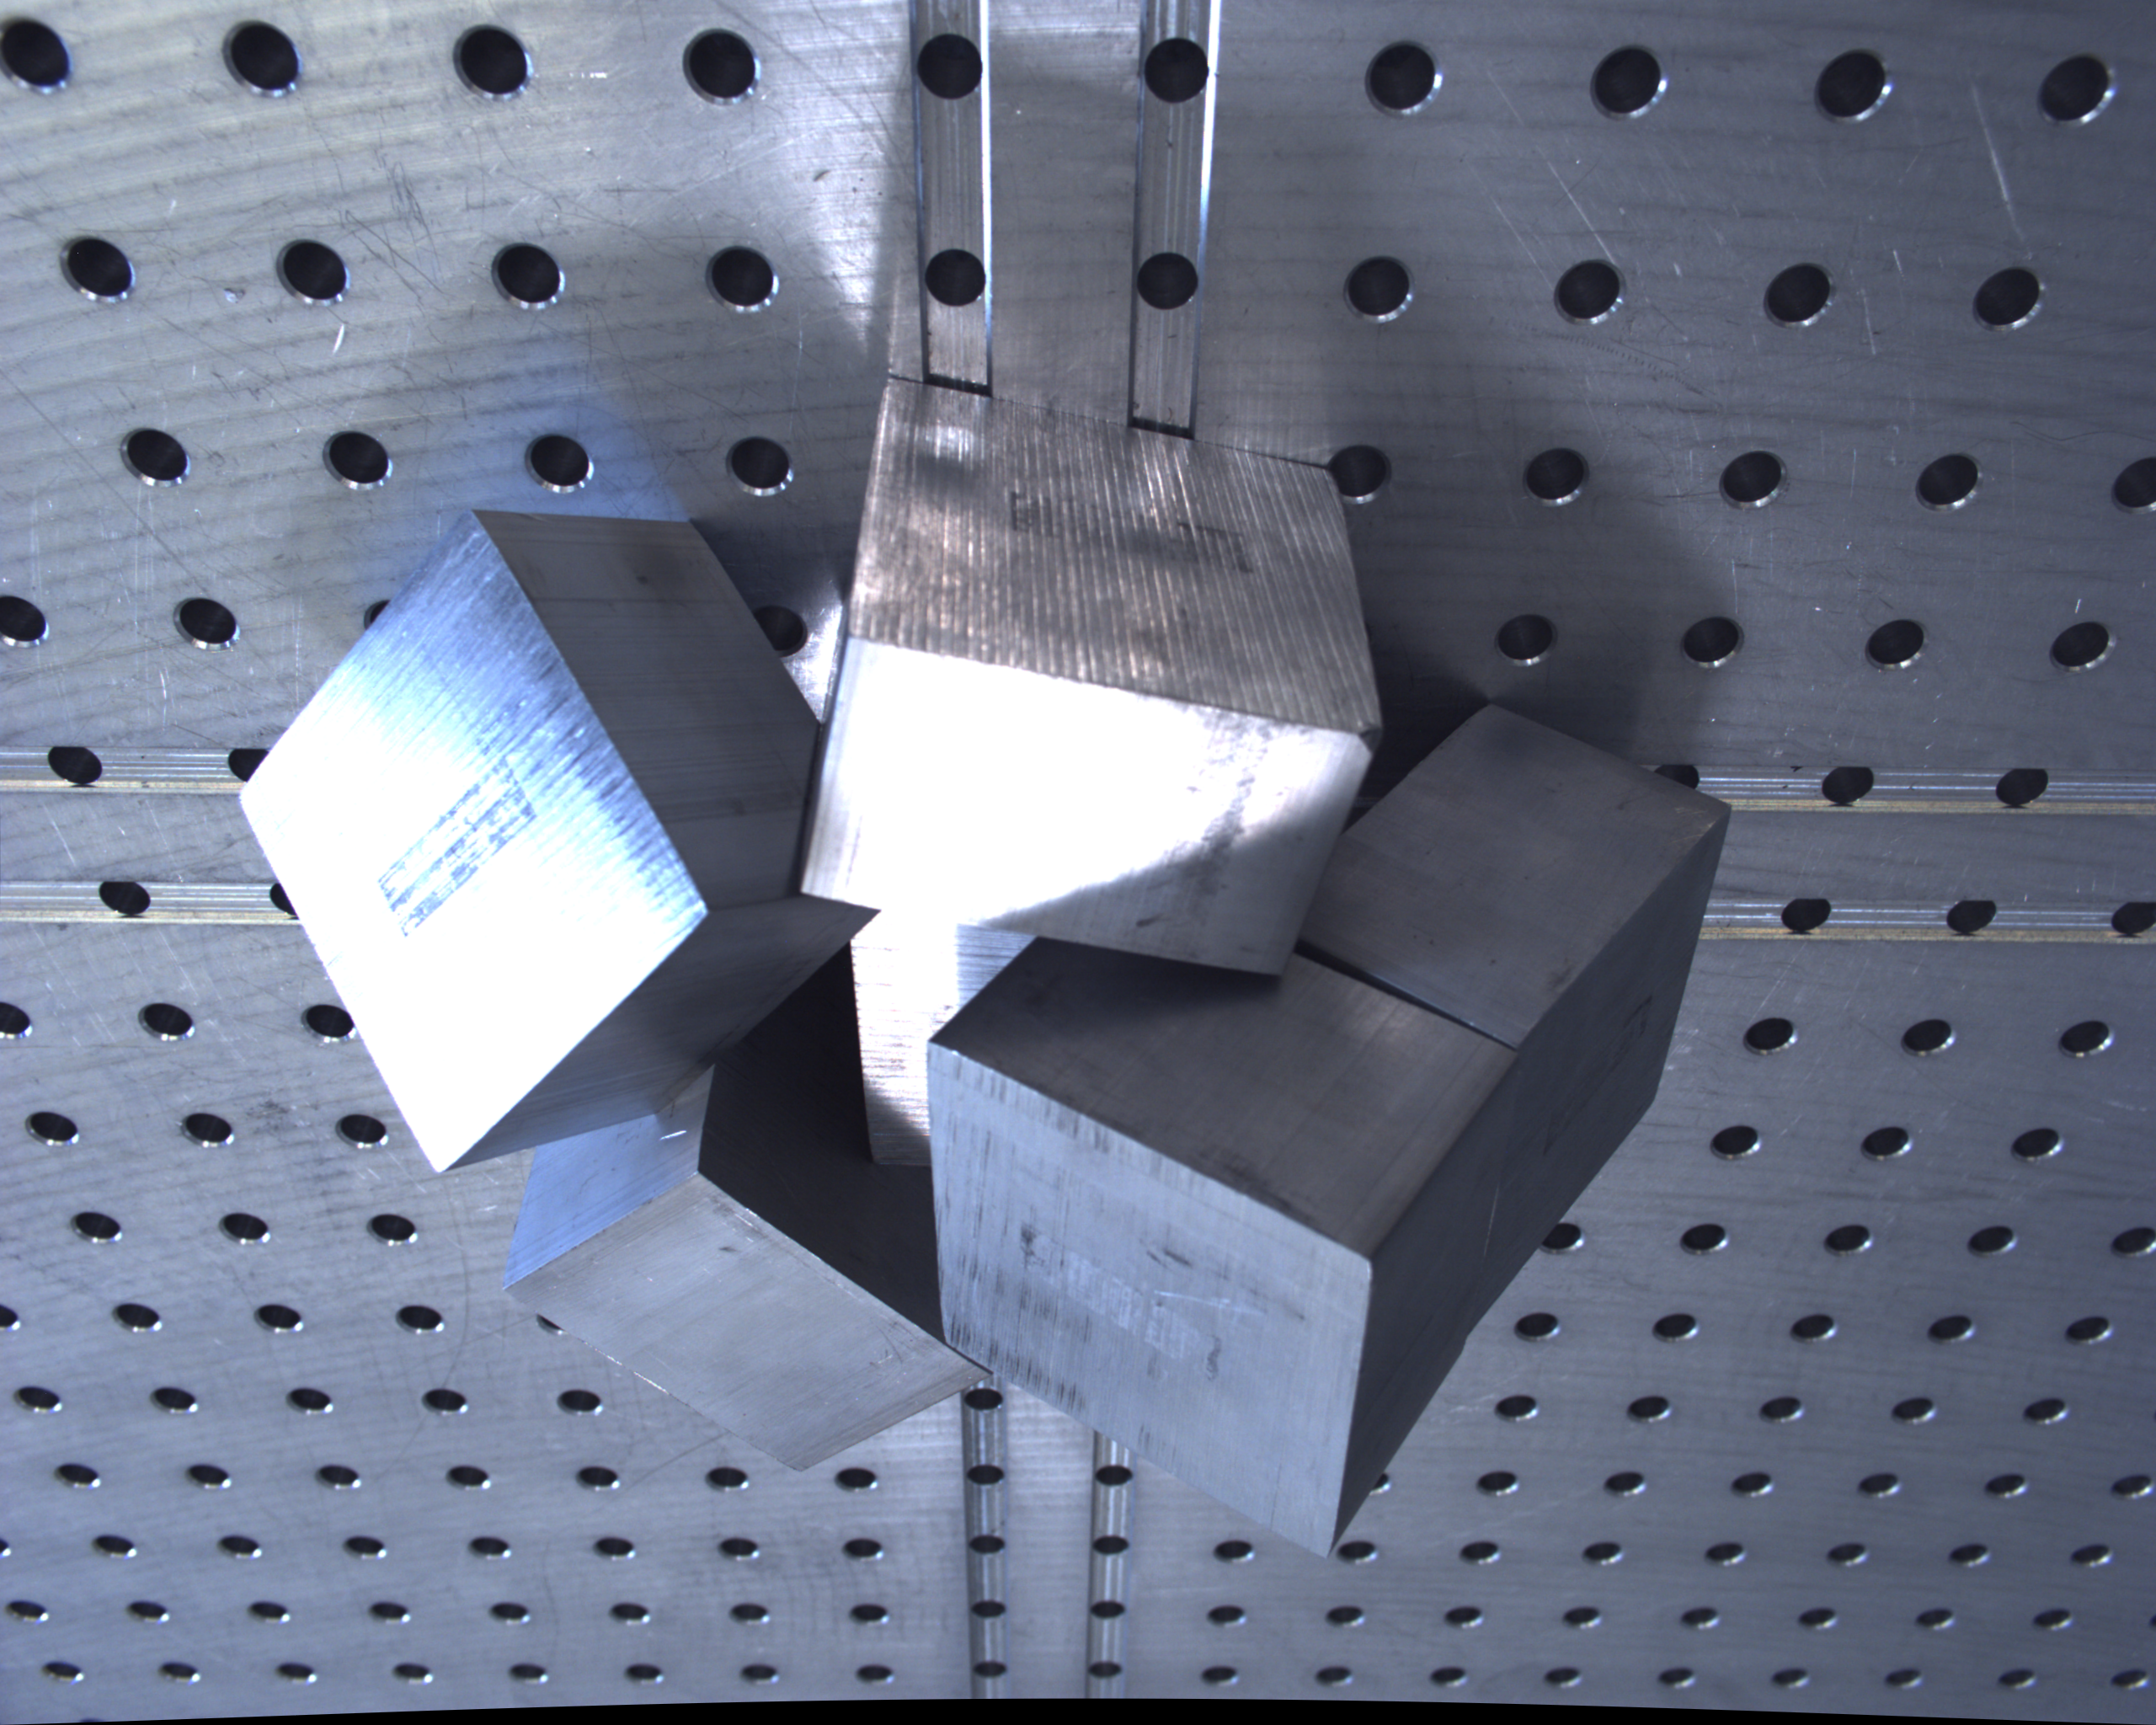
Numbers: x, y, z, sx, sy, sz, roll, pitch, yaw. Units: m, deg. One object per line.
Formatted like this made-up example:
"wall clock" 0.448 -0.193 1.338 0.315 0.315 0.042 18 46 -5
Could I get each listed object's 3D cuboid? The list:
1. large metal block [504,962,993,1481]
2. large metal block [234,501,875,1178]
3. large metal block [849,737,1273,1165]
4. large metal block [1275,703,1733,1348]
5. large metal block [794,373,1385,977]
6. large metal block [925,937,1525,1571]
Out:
"large metal block" -0.062 0.066 0.429 0.050 0.080 0.080 -33 123 24
"large metal block" -0.089 -0.005 0.362 0.080 0.080 0.050 -41 163 29
"large metal block" -0.001 0.014 0.407 0.080 0.050 0.080 1 130 -1
"large metal block" 0.074 0.030 0.390 0.050 0.080 0.080 26 136 28
"large metal block" 0.001 -0.033 0.348 0.080 0.080 0.050 10 129 -8
"large metal block" 0.023 0.060 0.355 0.080 0.050 0.080 23 134 25
